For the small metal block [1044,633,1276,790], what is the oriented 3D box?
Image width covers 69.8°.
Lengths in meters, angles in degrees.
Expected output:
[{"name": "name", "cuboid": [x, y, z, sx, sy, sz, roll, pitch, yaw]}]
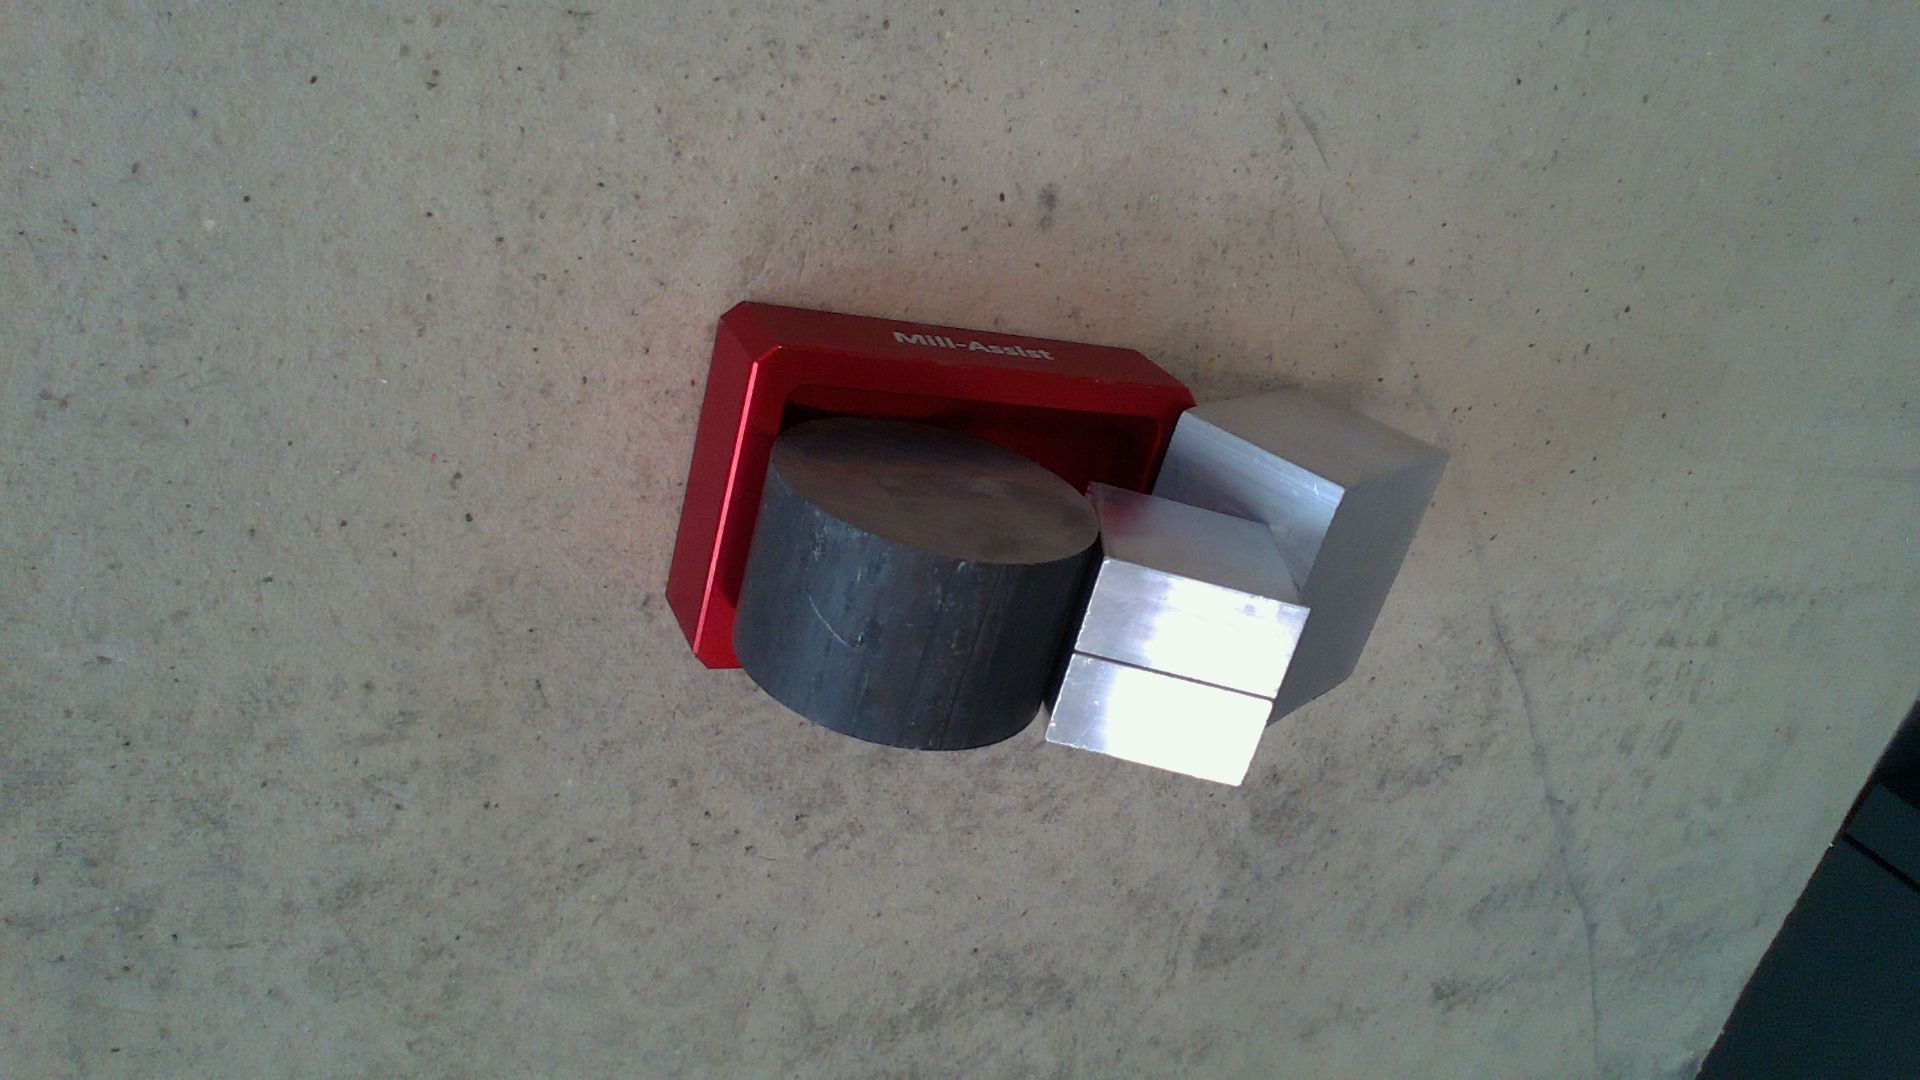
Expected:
[{"name": "small metal block", "cuboid": [0.048, 0.034, 0.352, 0.050, 0.050, 0.025, 13, 113, -6]}]

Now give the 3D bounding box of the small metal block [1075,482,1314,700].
[{"name": "small metal block", "cuboid": [0.054, 0.011, 0.342, 0.050, 0.050, 0.025, 13, 113, -6]}]

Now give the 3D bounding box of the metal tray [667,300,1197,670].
[{"name": "metal tray", "cuboid": [-0.007, -0.011, 0.375, 0.130, 0.030, 0.090, 2, 117, -29]}]

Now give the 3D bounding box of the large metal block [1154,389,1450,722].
[{"name": "large metal block", "cuboid": [0.093, 0.004, 0.407, 0.080, 0.050, 0.080, -16, 129, -52]}]

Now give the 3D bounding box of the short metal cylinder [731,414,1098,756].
[{"name": "short metal cylinder", "cuboid": [-0.012, 0.008, 0.336, 0.080, 0.080, 0.050, 1, 118, -29]}]
